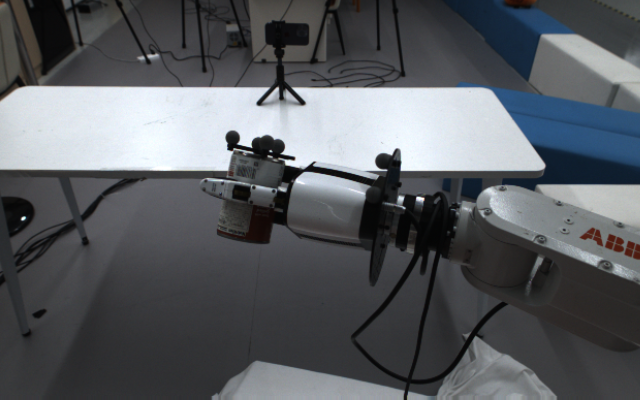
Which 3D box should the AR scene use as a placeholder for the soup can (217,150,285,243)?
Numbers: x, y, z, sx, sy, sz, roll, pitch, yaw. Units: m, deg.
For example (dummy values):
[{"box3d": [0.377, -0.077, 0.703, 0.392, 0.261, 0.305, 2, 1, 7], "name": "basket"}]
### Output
[{"box3d": [-0.082, -0.003, 0.586, 0.067, 0.101, 0.067, 12, 2, 0], "name": "soup can"}]
